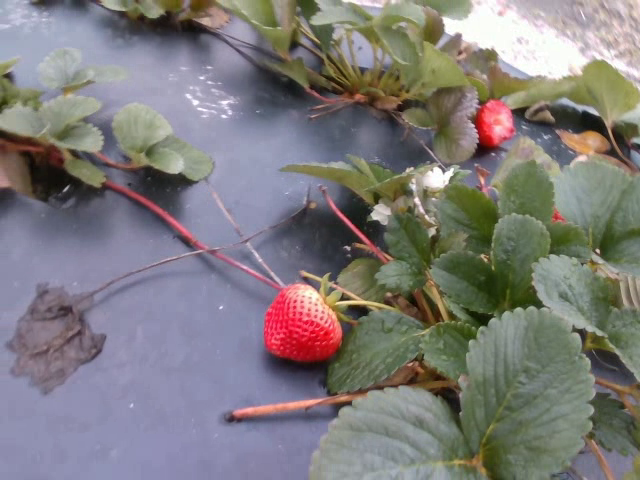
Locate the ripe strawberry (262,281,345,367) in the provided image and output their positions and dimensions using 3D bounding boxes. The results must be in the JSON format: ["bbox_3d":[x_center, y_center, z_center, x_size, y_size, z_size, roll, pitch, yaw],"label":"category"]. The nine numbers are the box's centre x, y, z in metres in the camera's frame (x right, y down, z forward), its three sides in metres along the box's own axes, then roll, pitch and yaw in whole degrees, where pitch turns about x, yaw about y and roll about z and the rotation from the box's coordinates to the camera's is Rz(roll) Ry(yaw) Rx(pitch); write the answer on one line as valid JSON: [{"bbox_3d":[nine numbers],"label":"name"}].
[{"bbox_3d":[-0.017,0.057,0.427,0.061,0.064,0.050,44,-7,11],"label":"ripe strawberry"}]
